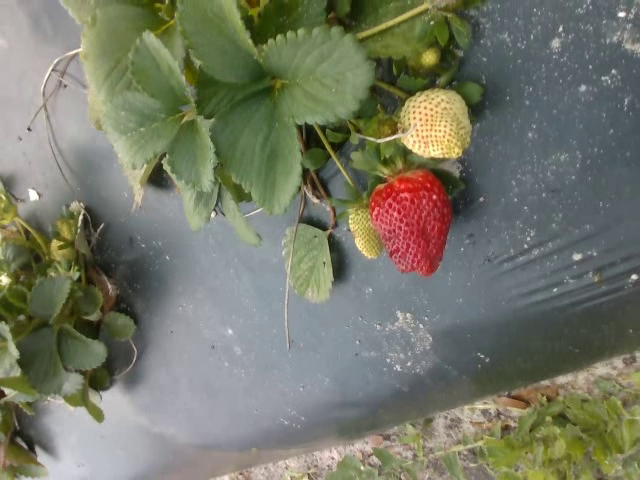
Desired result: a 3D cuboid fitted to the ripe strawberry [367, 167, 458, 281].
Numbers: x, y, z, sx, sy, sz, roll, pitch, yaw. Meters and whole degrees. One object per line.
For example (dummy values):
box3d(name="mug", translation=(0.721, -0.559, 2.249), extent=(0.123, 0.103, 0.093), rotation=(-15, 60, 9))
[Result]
box3d(name="ripe strawberry", translation=(0.049, -0.006, 0.295), extent=(0.045, 0.059, 0.046), rotation=(0, -20, -37))
